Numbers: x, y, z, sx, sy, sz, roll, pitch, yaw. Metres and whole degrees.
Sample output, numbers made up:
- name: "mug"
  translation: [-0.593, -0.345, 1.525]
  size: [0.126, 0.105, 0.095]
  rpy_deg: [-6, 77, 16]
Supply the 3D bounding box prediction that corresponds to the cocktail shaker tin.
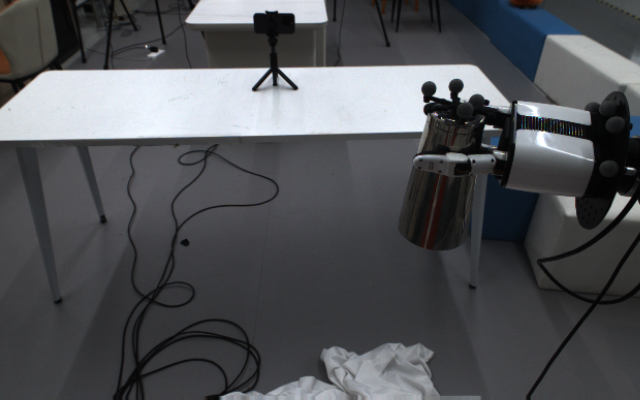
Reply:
- name: "cocktail shaker tin"
  translation: [0.159, -0.033, 0.617]
  size: [0.093, 0.170, 0.093]
  rpy_deg: [3, 33, -2]
